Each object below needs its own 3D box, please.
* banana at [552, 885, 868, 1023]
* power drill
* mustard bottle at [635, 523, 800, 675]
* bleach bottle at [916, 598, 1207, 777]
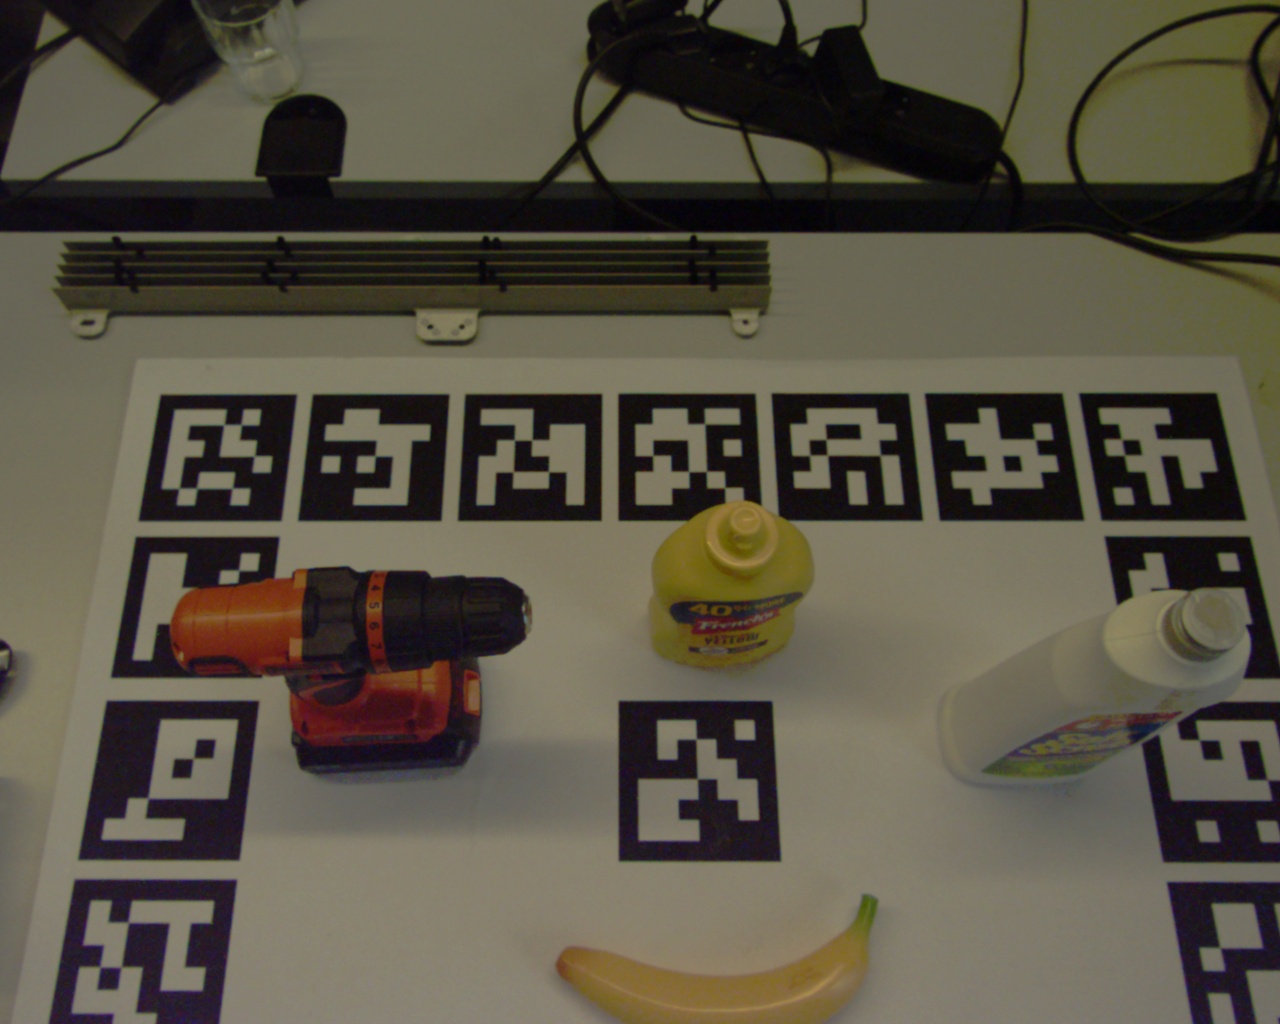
[{"bbox_3d":[0.046,0.275,0.695,0.197,0.039,0.074,-6,70,1],"label":"banana"},{"bbox_3d":[-0.139,0.084,0.669,0.185,0.186,0.057,-6,69,1],"label":"power drill"},{"bbox_3d":[0.049,0.052,0.714,0.096,0.191,0.058,-7,69,-5],"label":"mustard bottle"},{"bbox_3d":[0.241,0.100,0.660,0.103,0.250,0.068,8,68,2],"label":"bleach bottle"}]
